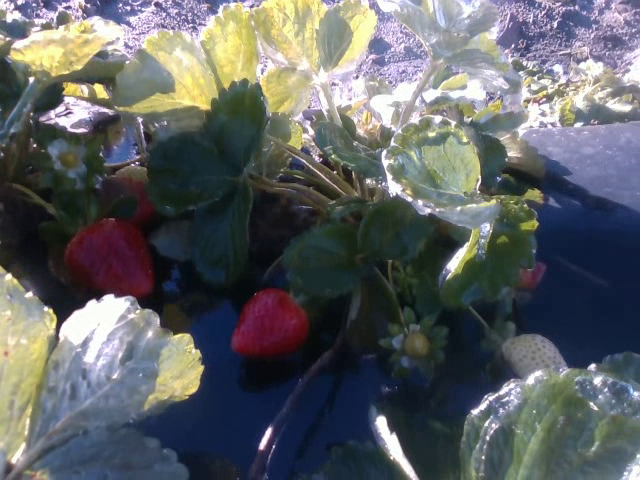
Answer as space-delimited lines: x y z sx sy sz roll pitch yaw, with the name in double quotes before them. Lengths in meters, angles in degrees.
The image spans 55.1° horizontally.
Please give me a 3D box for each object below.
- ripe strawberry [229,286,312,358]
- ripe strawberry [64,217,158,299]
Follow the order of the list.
"ripe strawberry" -0.025 0.042 0.284 0.039 0.040 0.047 37 54 17
"ripe strawberry" -0.107 0.010 0.316 0.044 0.056 0.040 -35 -23 -20
